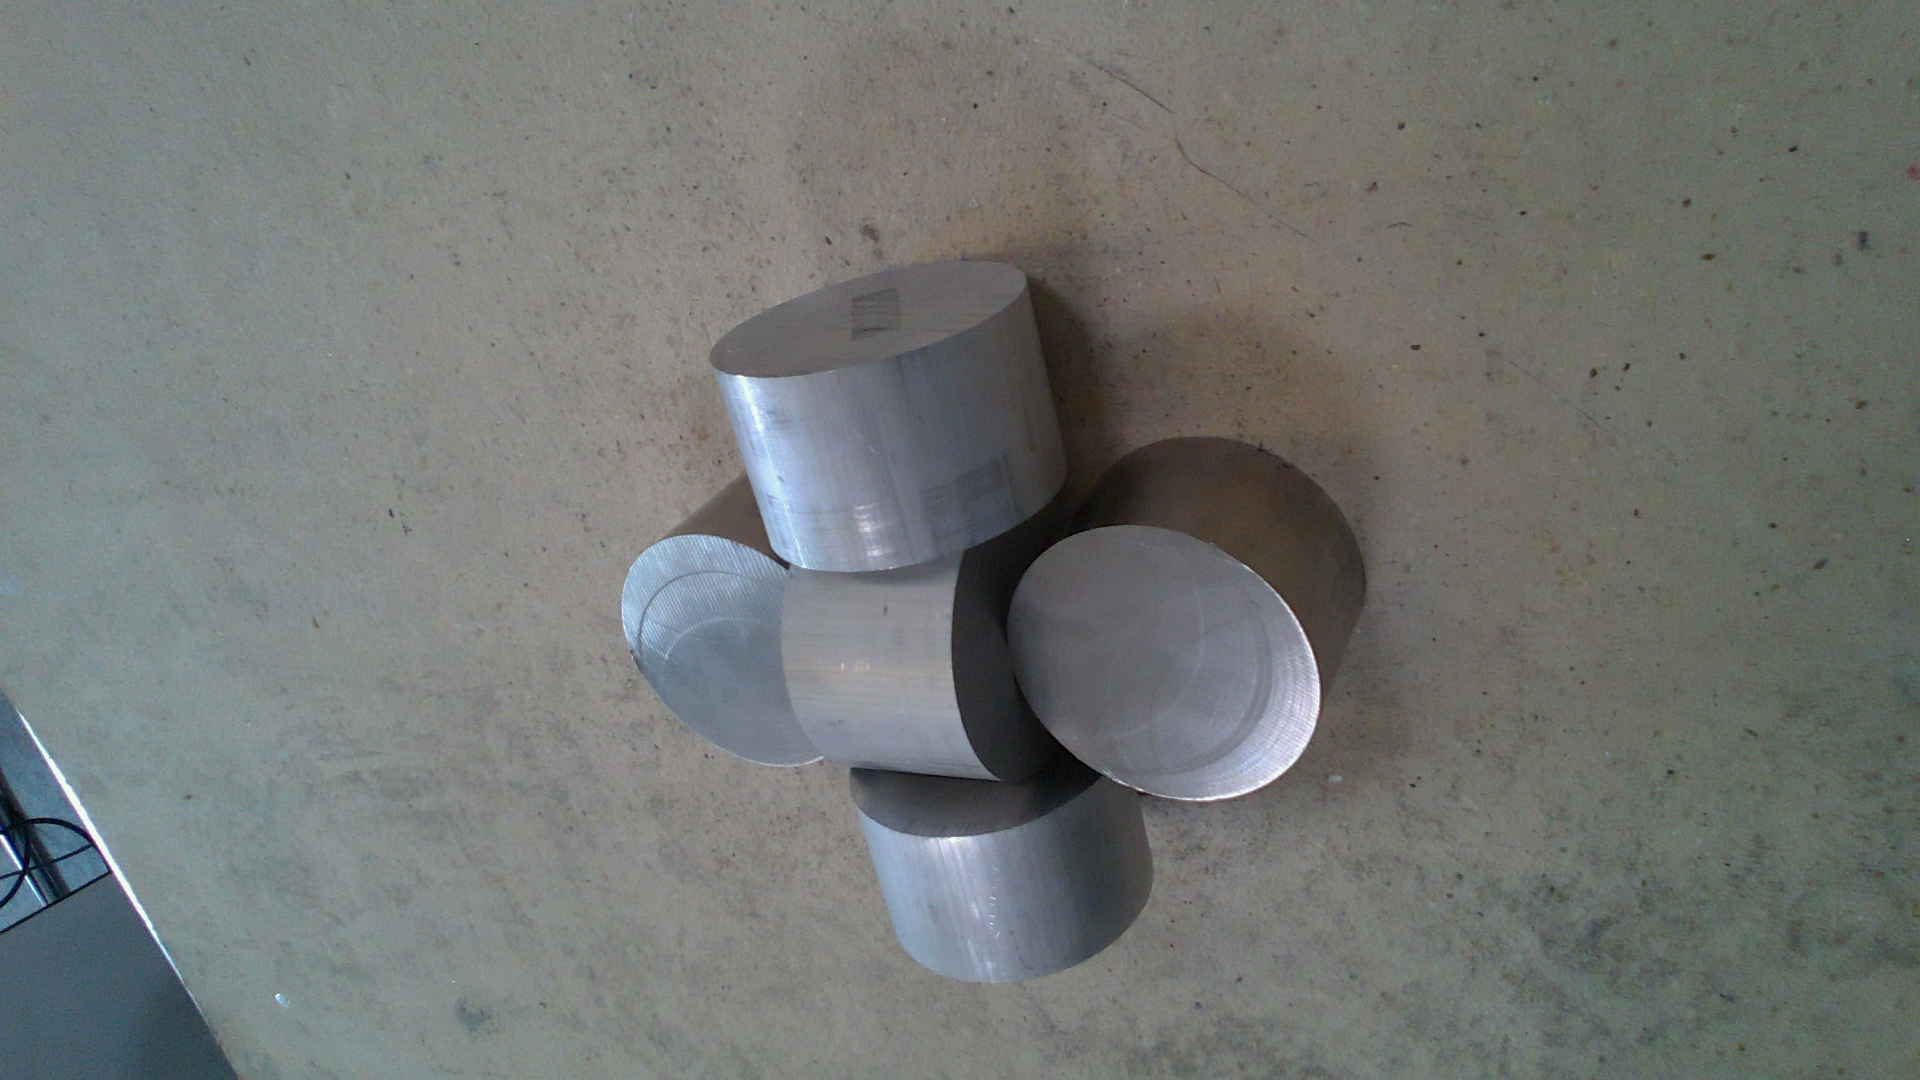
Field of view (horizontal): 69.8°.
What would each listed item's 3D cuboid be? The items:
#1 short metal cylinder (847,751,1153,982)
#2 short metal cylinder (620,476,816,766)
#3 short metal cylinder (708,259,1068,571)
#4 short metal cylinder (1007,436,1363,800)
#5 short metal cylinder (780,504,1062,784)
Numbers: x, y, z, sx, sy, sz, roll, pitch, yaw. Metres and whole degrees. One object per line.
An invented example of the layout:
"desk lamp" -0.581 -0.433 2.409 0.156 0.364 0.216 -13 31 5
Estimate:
"short metal cylinder" 0.012 0.081 0.402 0.080 0.080 0.050 0 118 28
"short metal cylinder" -0.055 0.021 0.420 0.080 0.050 0.080 13 123 20
"short metal cylinder" -0.017 -0.034 0.346 0.080 0.080 0.050 0 118 28
"short metal cylinder" 0.059 0.020 0.357 0.080 0.050 0.080 14 125 21
"short metal cylinder" -0.005 0.024 0.376 0.050 0.080 0.080 1 119 28
